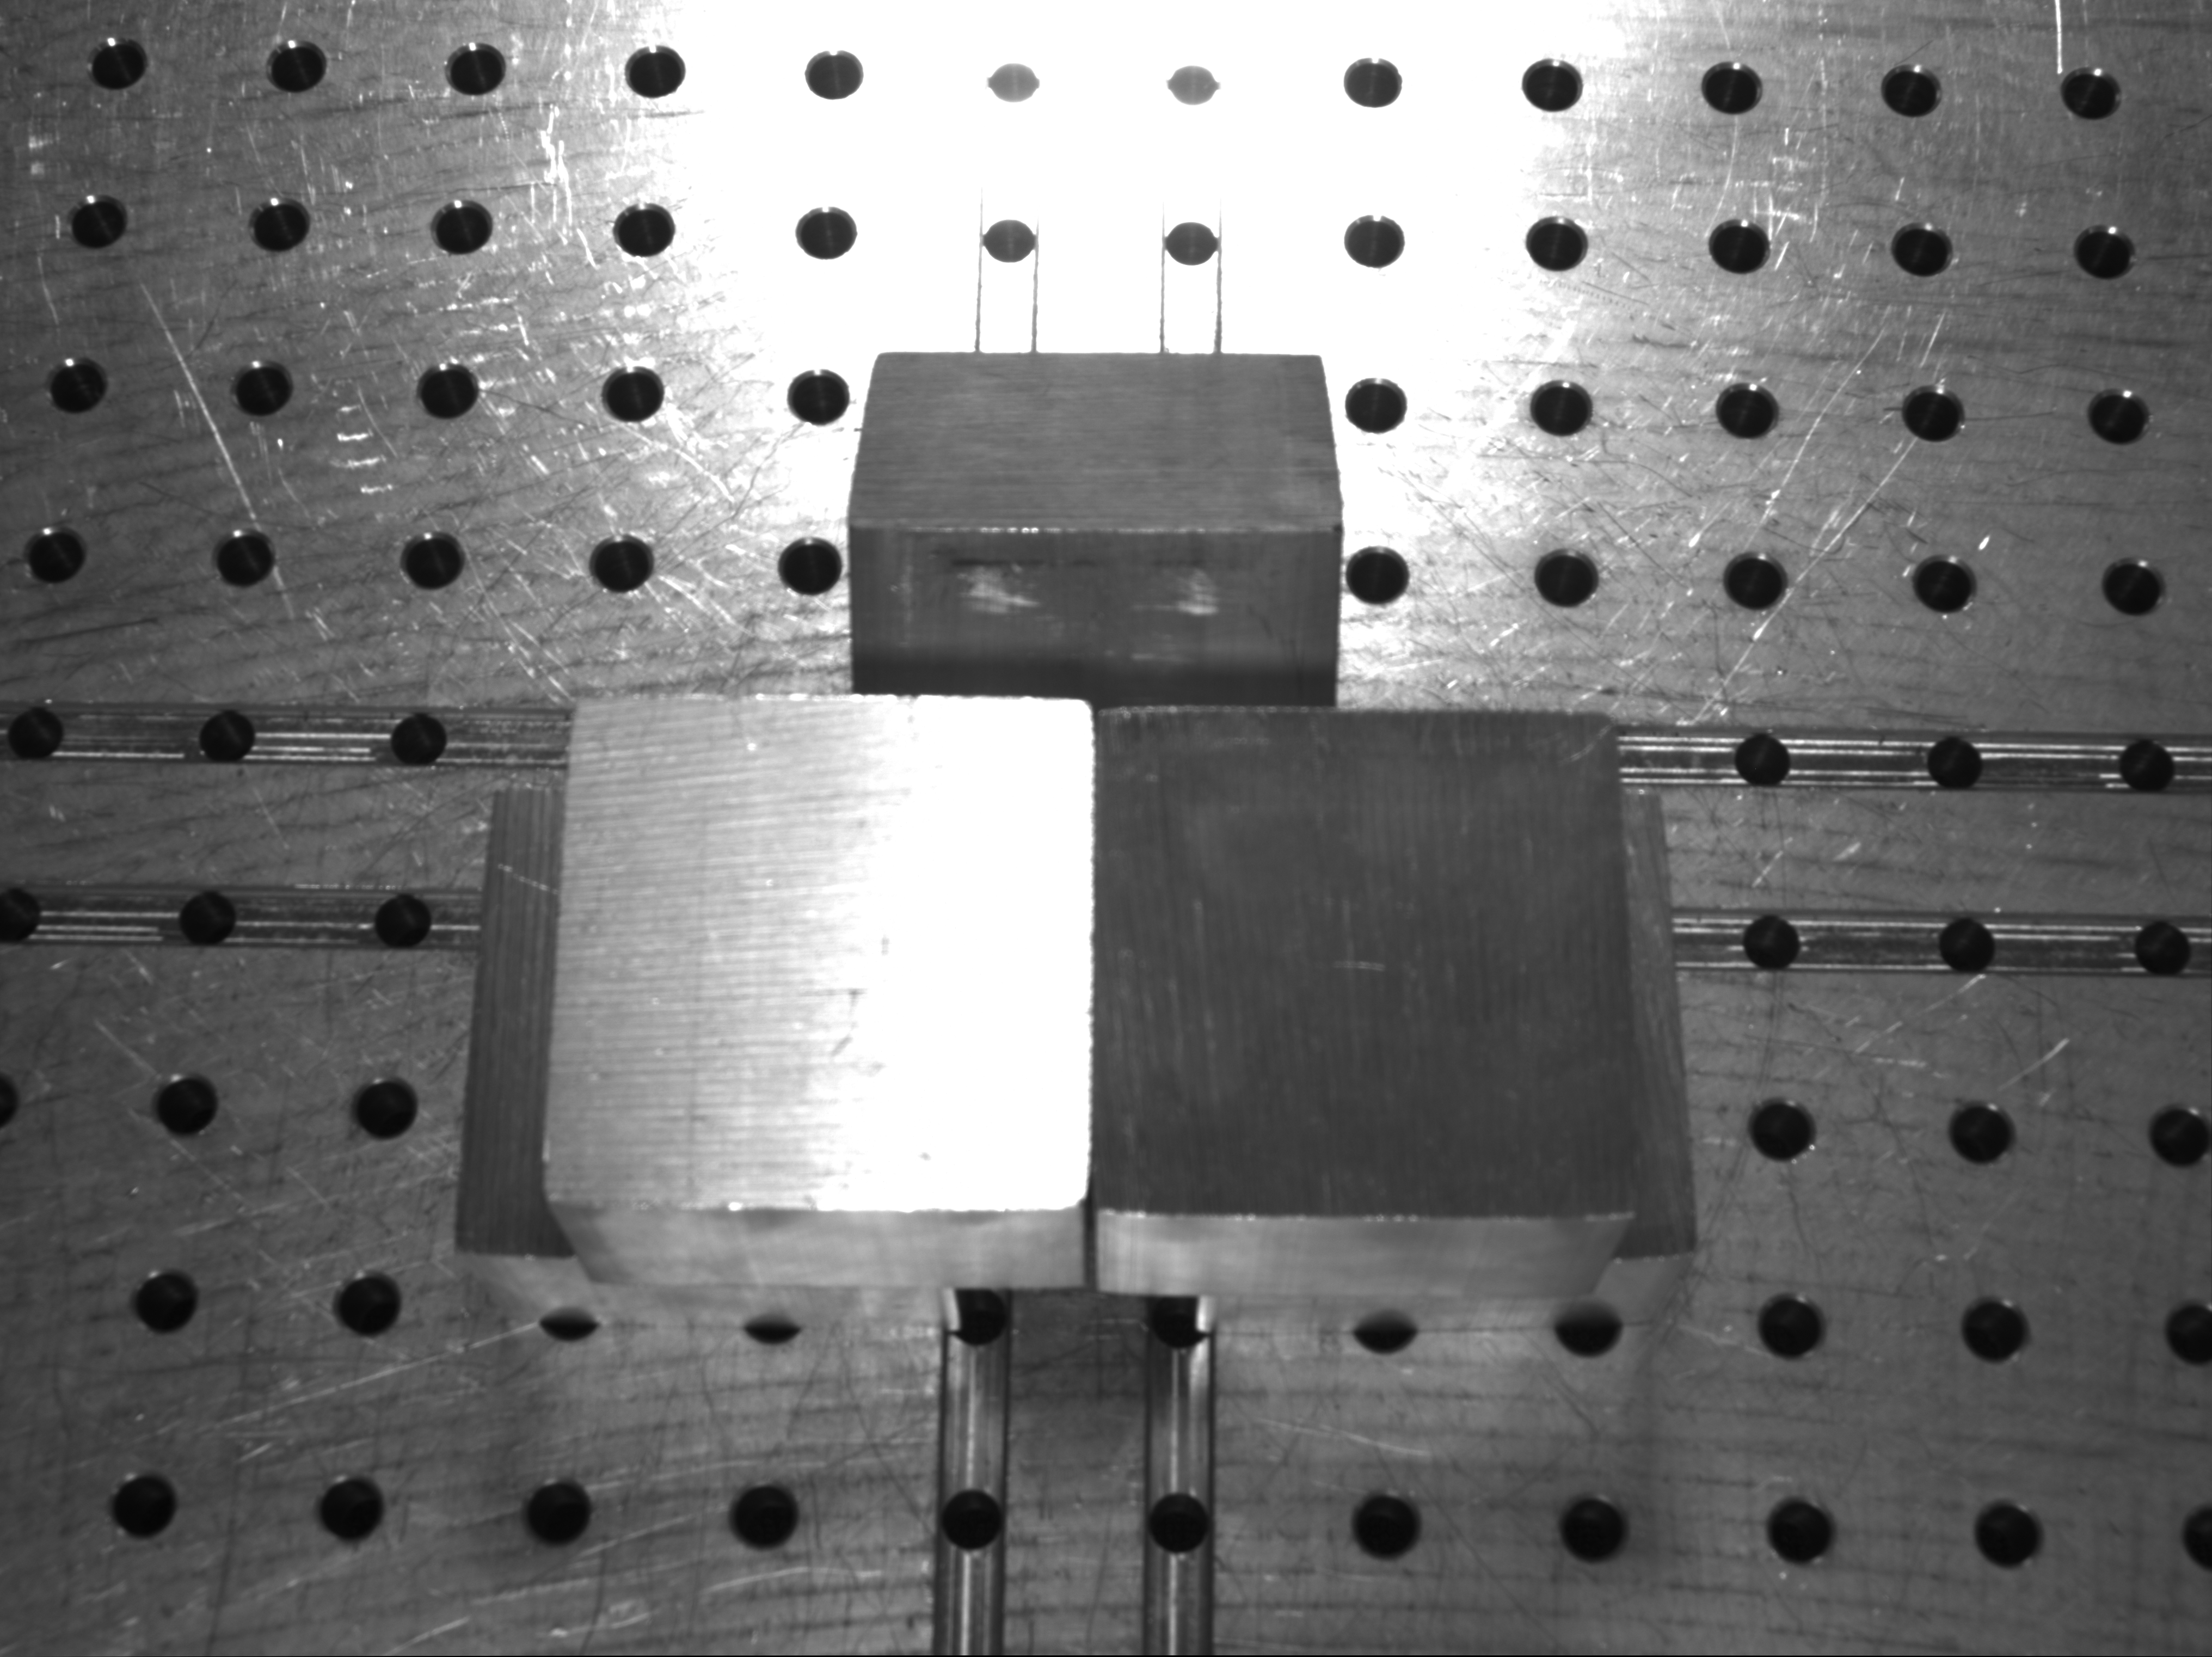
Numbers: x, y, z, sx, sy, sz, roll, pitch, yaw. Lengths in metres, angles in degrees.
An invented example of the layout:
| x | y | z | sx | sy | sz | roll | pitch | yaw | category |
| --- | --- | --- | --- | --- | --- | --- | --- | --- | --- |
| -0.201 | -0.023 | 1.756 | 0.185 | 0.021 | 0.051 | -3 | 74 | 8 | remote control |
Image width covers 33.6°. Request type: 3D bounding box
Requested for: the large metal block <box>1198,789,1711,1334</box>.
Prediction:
| x | y | z | sx | sy | sz | roll | pitch | yaw | category |
| --- | --- | --- | --- | --- | --- | --- | --- | --- | --- |
| 0.056 | 0.040 | 0.619 | 0.080 | 0.050 | 0.080 | -1 | 70 | 0 | large metal block |

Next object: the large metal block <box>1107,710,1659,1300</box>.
| x | y | z | sx | sy | sz | roll | pitch | yaw | category |
| --- | --- | --- | --- | --- | --- | --- | --- | --- | --- |
| 0.040 | 0.028 | 0.568 | 0.080 | 0.050 | 0.080 | 0 | 70 | 0 | large metal block |

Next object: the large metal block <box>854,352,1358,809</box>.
| x | y | z | sx | sy | sz | roll | pitch | yaw | category |
| --- | --- | --- | --- | --- | --- | --- | --- | --- | --- |
| 0.000 | -0.044 | 0.628 | 0.080 | 0.050 | 0.080 | 0 | 28 | 0 | large metal block |

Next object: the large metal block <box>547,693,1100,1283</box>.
| x | y | z | sx | sy | sz | roll | pitch | yaw | category |
| --- | --- | --- | --- | --- | --- | --- | --- | --- | --- |
| -0.041 | 0.026 | 0.568 | 0.080 | 0.050 | 0.080 | 0 | 70 | 0 | large metal block |

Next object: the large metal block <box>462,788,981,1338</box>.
| x | y | z | sx | sy | sz | roll | pitch | yaw | category |
| --- | --- | --- | --- | --- | --- | --- | --- | --- | --- |
| -0.061 | 0.040 | 0.620 | 0.080 | 0.050 | 0.080 | 1 | 70 | 1 | large metal block |
